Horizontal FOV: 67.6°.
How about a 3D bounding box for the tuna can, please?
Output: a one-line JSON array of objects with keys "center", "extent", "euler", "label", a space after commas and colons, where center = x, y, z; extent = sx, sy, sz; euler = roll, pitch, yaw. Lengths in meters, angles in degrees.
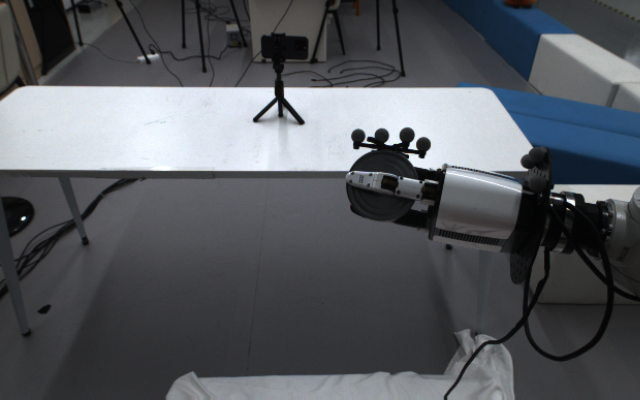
[{"center": [0.076, -0.019, 0.584], "extent": [0.085, 0.085, 0.034], "euler": [11, -7, 12], "label": "tuna can"}]
